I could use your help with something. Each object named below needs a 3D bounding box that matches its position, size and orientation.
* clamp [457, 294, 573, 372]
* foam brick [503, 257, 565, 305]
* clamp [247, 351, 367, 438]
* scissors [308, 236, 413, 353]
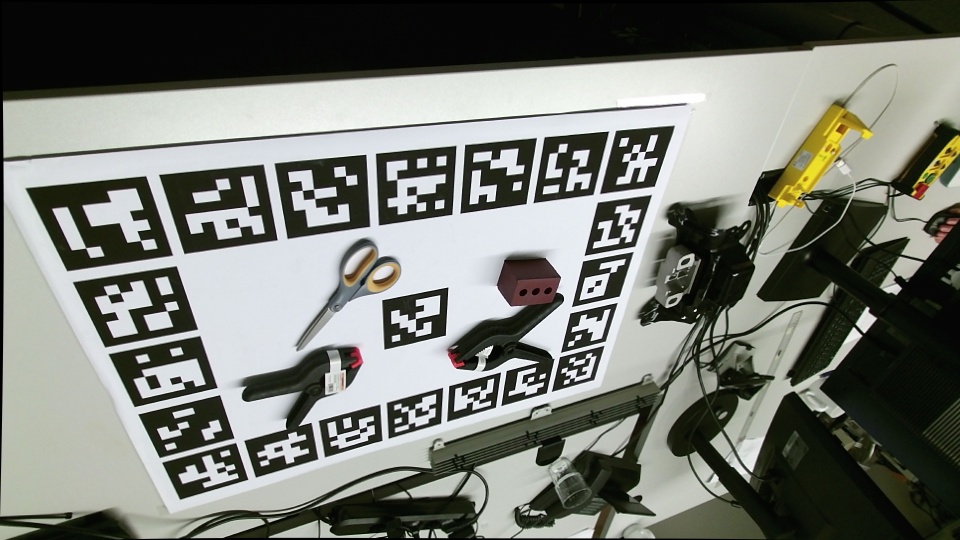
[{"bbox_3d":[0.060,0.128,0.920,0.203,0.036,0.165,-14,131,-18],"label":"clamp"},{"bbox_3d":[0.086,0.016,0.845,0.078,0.051,0.053,-7,124,-29],"label":"foam brick"},{"bbox_3d":[-0.242,0.176,0.802,0.165,0.036,0.122,-33,125,-3],"label":"clamp"},{"bbox_3d":[-0.176,0.044,0.743,0.088,0.016,0.203,32,106,-32],"label":"scissors"}]
